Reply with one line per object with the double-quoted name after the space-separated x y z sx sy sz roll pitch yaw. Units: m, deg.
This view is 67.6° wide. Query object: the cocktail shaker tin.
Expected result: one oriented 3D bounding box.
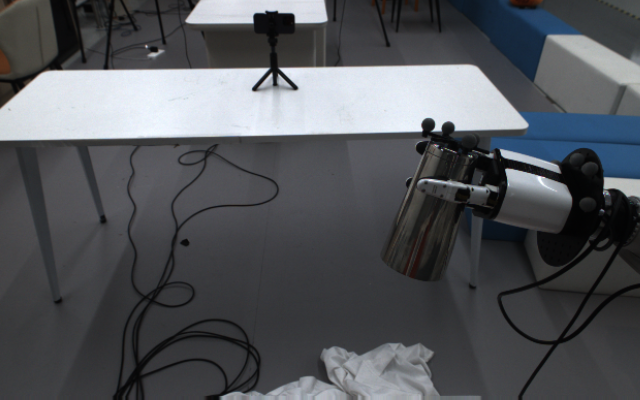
0.151 0.008 0.649 0.093 0.170 0.093 14 18 -5 "cocktail shaker tin"
